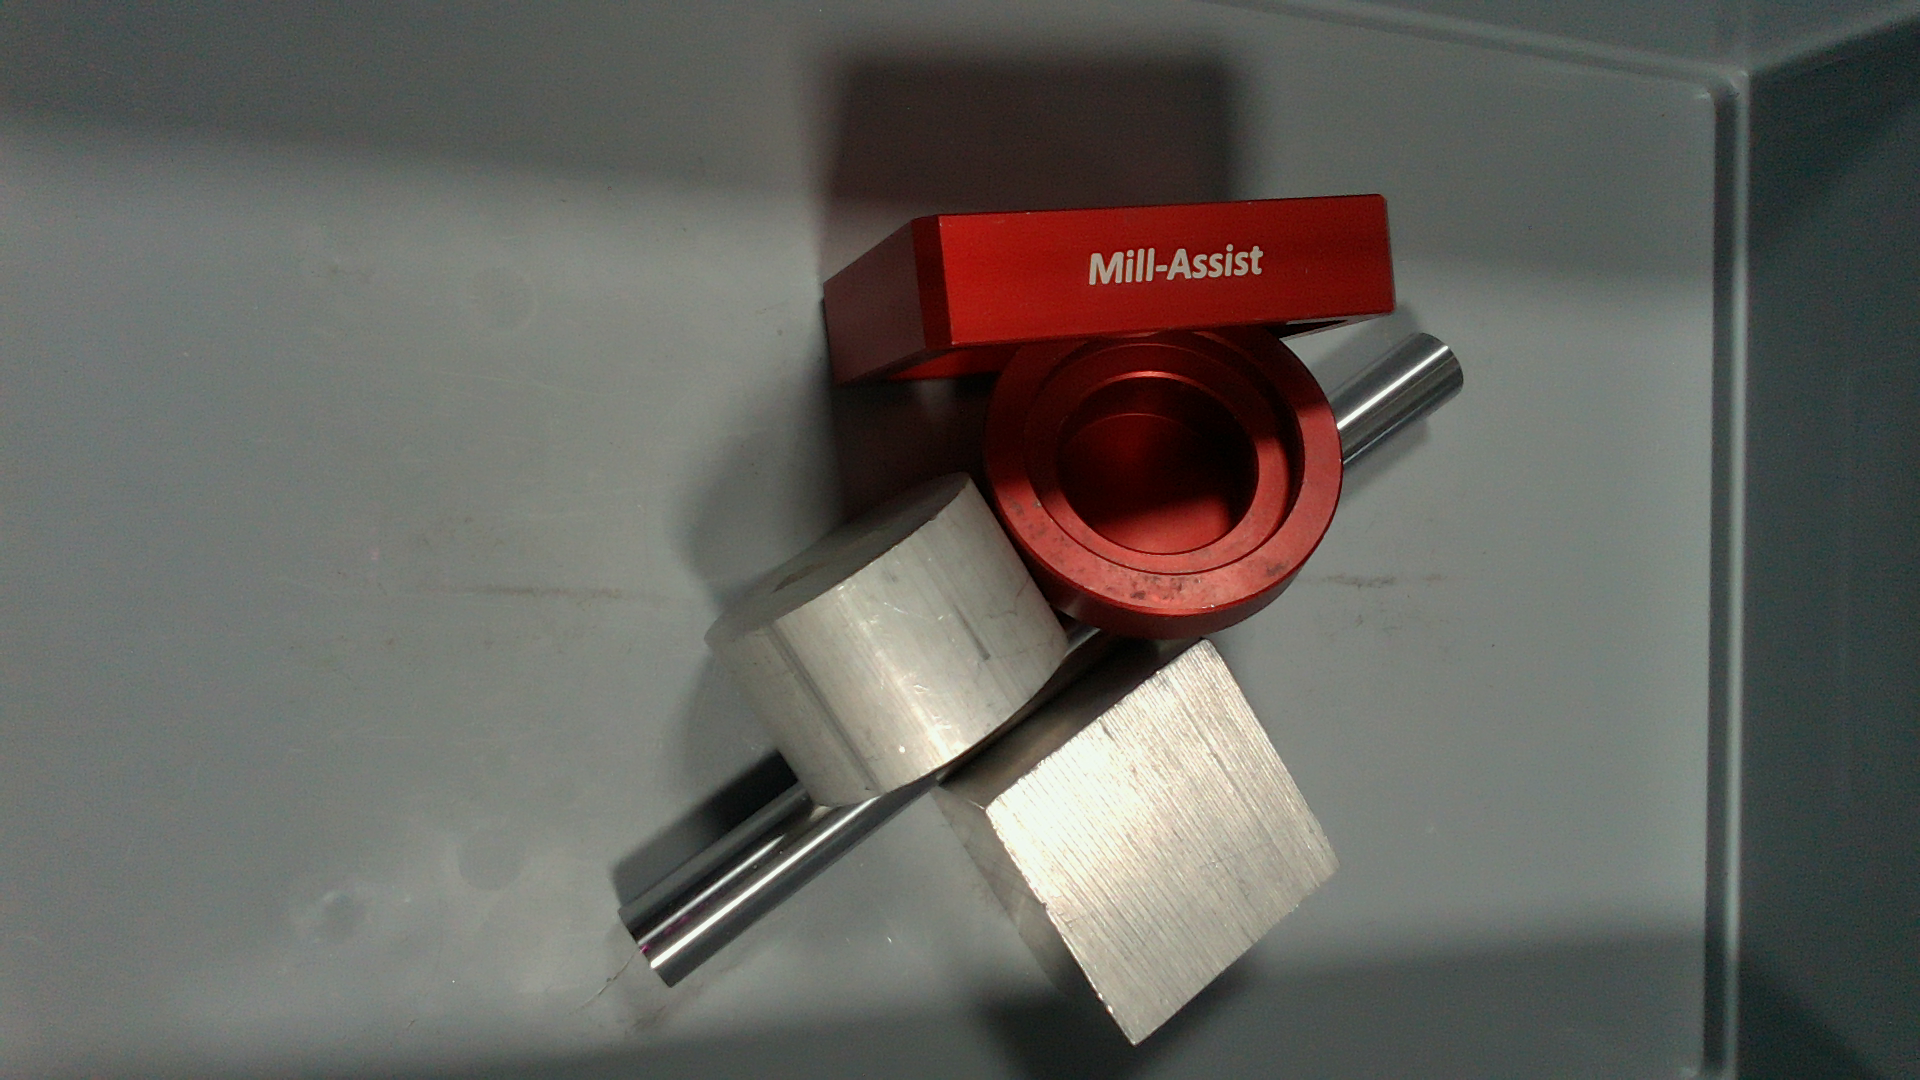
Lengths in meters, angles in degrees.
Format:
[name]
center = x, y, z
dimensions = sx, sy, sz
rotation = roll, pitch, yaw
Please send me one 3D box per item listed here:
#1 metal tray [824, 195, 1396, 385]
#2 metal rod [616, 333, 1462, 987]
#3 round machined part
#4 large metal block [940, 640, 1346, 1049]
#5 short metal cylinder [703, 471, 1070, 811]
[metal tray]
center = 0.038, -0.066, 0.370
dimensions = 0.130, 0.090, 0.030
rotation = -7, 93, -20
[metal rod]
center = 0.035, 0.025, 0.405
dimensions = 0.301, 0.025, 0.025
rotation = -35, 101, -17
[round machined part]
center = 0.054, -0.018, 0.388
dimensions = 0.098, 0.042, 0.098
rotation = 1, 66, -3
[large metal block]
center = 0.049, 0.081, 0.396
dimensions = 0.080, 0.050, 0.080
rotation = -35, 101, -17
[short metal cylinder]
center = -0.019, 0.025, 0.357
dimensions = 0.080, 0.080, 0.050
rotation = -35, 101, -16
